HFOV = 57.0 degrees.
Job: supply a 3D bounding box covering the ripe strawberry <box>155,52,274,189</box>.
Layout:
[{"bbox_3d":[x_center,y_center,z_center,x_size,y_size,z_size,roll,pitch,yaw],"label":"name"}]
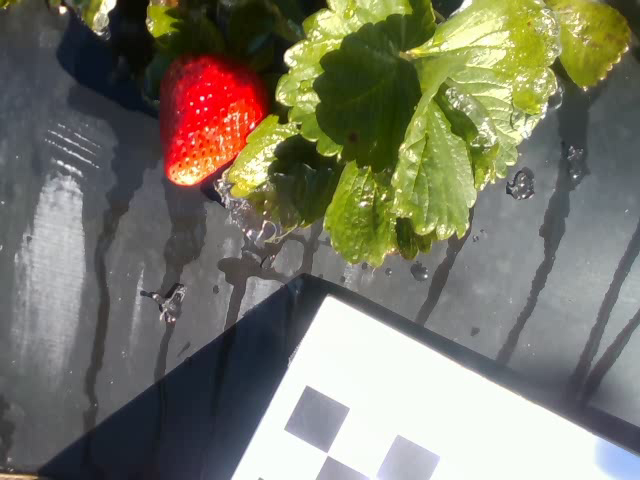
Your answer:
[{"bbox_3d":[-0.040,-0.037,0.192,0.041,0.052,0.047,21,-38,3],"label":"ripe strawberry"}]
